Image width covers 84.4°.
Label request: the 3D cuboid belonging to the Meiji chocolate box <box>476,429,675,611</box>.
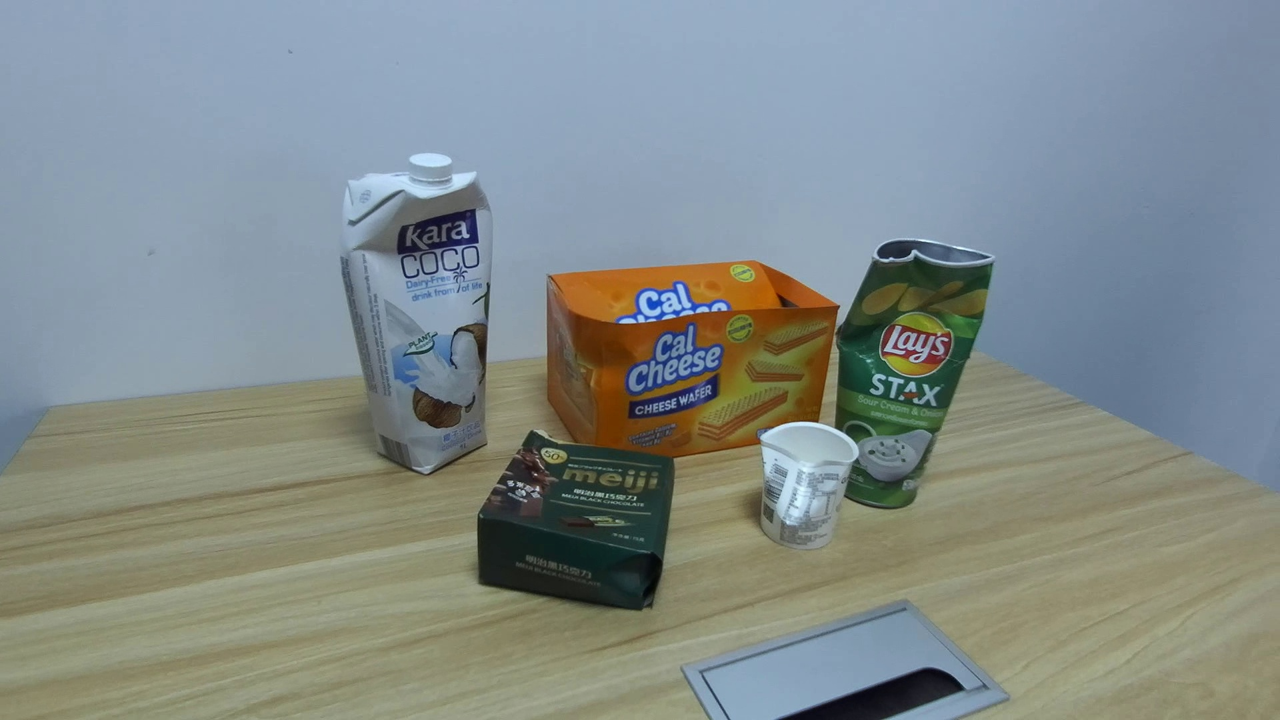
[{"bbox_3d":[-0.037,0.104,0.471,0.115,0.058,0.122,9,24,6],"label":"Meiji chocolate box"}]

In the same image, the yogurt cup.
[{"bbox_3d":[0.117,0.089,0.501,0.067,0.070,0.067,1,23,0],"label":"yogurt cup"}]

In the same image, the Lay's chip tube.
[{"bbox_3d":[0.195,0.012,0.535,0.077,0.201,0.069,-8,26,-21],"label":"Lay's chip tube"}]

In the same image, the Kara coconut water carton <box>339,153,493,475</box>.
[{"bbox_3d":[-0.167,-0.034,0.545,0.069,0.238,0.115,19,28,30],"label":"Kara coconut water carton"}]

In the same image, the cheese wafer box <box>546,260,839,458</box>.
[{"bbox_3d":[0.038,-0.002,0.637,0.231,0.132,0.151,-5,26,-22],"label":"cheese wafer box"}]
